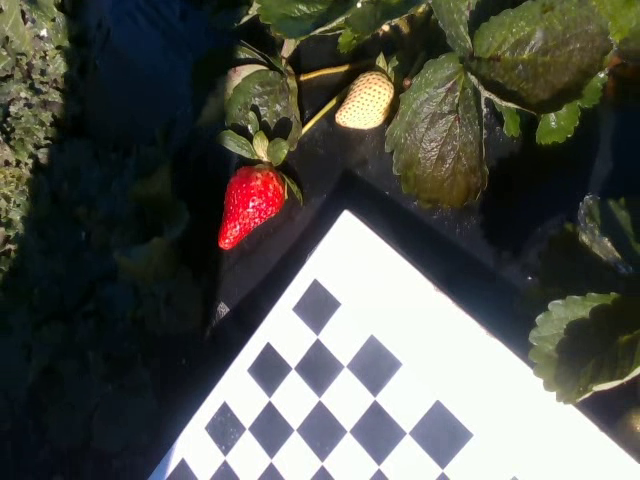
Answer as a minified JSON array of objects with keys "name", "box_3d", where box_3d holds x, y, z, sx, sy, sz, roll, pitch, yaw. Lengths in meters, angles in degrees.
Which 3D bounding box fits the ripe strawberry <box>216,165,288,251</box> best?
[{"name":"ripe strawberry","box_3d":[-0.047,-0.020,0.386,0.048,0.069,0.040,22,-3,34]}]
